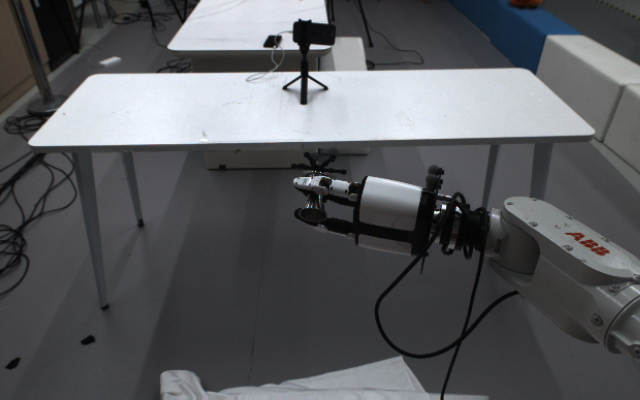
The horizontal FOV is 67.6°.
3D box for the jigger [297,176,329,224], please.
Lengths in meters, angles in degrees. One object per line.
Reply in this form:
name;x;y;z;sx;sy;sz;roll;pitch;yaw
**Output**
jigger;-0.010;-0.008;0.747;0.043;0.043;0.071;5;60;4
